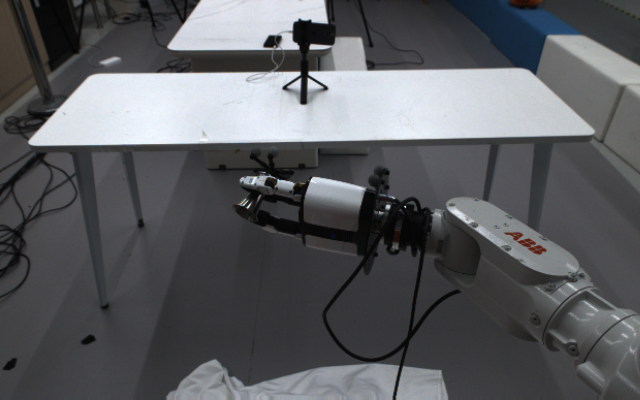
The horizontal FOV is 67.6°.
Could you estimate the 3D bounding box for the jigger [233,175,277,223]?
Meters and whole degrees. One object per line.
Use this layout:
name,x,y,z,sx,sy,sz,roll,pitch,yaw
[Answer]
jigger,-0.099,-0.010,0.742,0.043,0.043,0.071,19,61,23
